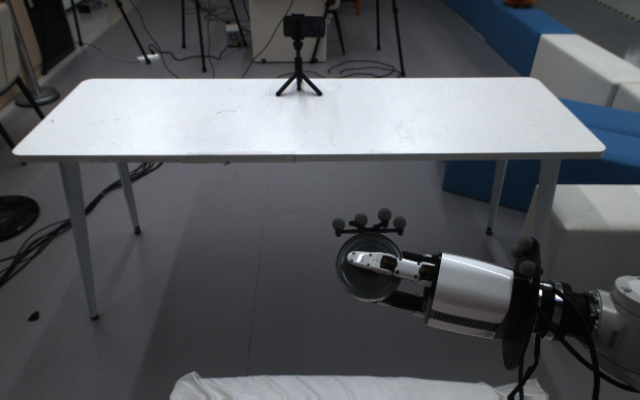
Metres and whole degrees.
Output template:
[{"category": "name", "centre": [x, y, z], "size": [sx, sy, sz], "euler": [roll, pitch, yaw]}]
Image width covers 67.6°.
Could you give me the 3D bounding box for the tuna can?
[{"category": "tuna can", "centre": [0.064, 0.083, 0.613], "size": [0.085, 0.034, 0.085], "euler": [-3, 66, 7]}]
